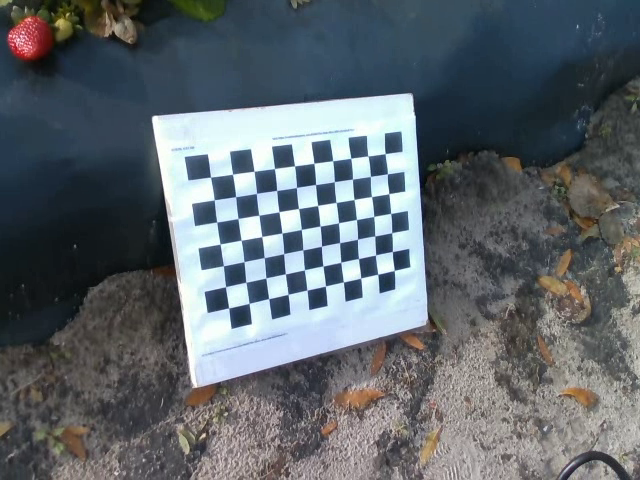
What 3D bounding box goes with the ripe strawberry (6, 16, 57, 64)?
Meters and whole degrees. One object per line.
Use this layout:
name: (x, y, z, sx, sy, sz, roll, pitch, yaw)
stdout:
ripe strawberry: (-0.271, -0.185, 0.532, 0.045, 0.058, 0.051, -8, -38, -24)
